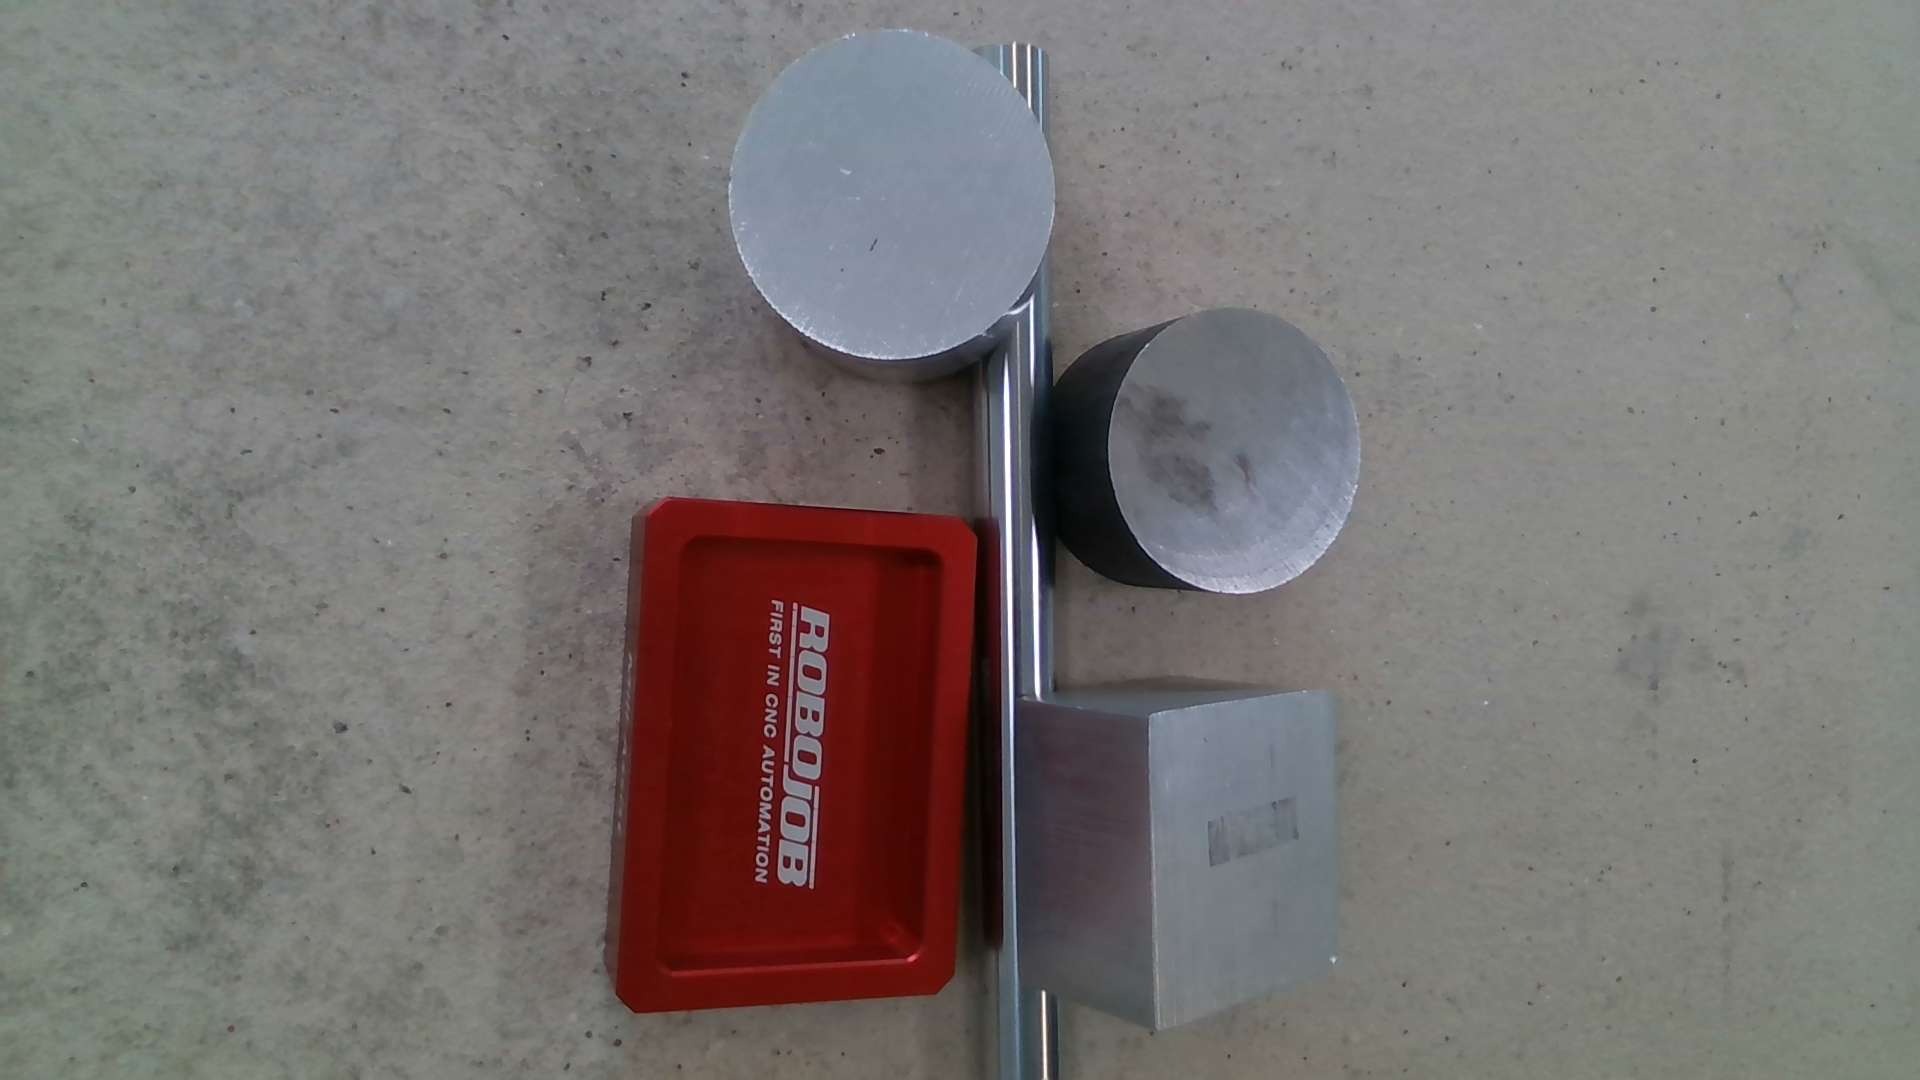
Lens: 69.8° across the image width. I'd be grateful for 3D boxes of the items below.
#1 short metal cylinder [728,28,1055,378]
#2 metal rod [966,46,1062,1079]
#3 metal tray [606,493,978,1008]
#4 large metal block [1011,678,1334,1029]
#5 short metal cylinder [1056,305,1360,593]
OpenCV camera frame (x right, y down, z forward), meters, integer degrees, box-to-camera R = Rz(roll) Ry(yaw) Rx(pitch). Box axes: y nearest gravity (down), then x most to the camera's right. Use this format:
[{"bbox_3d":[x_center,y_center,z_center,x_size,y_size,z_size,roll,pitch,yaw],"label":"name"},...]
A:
[{"bbox_3d":[-0.016,-0.085,0.362,0.080,0.050,0.080,0,91,0],"label":"short metal cylinder"},{"bbox_3d":[0.015,0.011,0.401,0.025,0.025,0.300,-1,91,-20],"label":"metal rod"},{"bbox_3d":[-0.045,0.055,0.374,0.090,0.030,0.130,3,89,-20],"label":"metal tray"},{"bbox_3d":[0.061,0.083,0.391,0.080,0.050,0.080,-1,91,-41],"label":"large metal block"},{"bbox_3d":[0.069,-0.025,0.406,0.080,0.050,0.080,0,90,-21],"label":"short metal cylinder"}]
